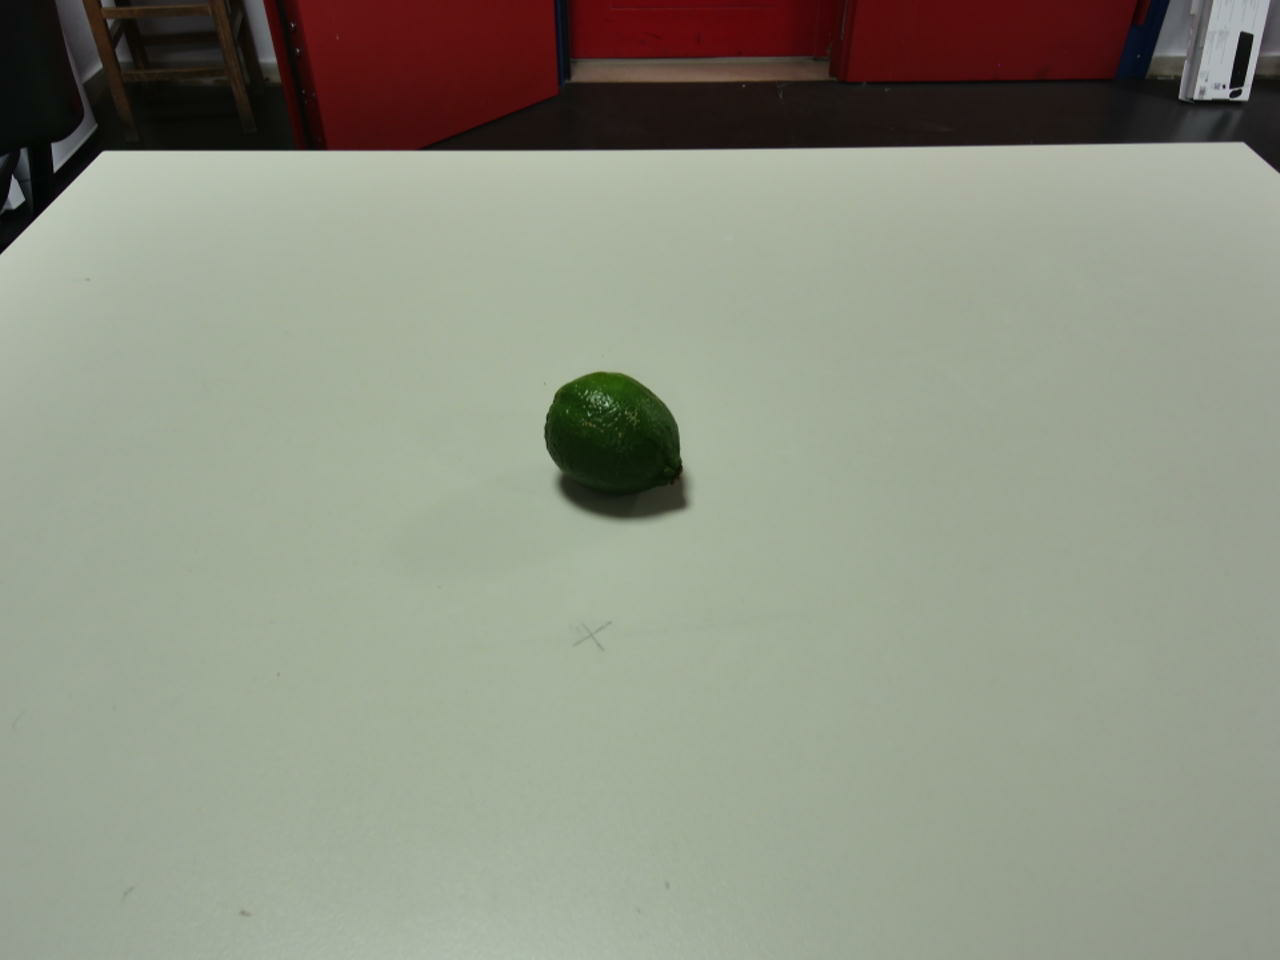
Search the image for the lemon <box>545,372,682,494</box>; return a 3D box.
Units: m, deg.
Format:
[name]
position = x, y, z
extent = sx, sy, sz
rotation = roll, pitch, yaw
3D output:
[lemon]
position = -0.012, -0.021, 0.430
extent = 0.057, 0.051, 0.054
rotation = -3, 39, -3
